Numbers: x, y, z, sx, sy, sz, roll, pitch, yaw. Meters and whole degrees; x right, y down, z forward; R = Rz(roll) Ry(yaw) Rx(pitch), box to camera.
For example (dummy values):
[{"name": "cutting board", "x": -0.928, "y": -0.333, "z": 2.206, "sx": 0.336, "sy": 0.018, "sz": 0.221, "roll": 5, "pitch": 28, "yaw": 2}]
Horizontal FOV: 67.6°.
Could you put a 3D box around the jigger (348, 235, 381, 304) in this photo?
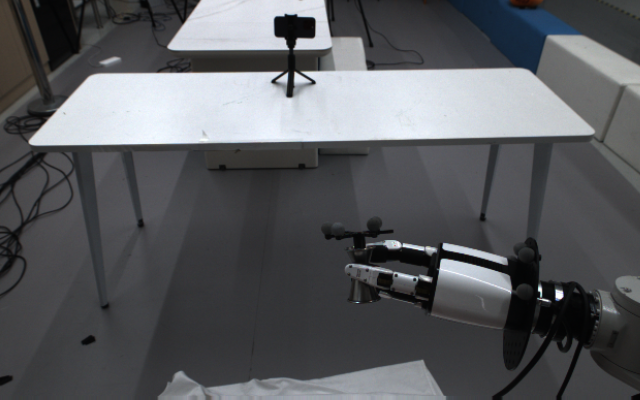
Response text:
[{"name": "jigger", "x": 0.054, "y": 0.094, "z": 0.621, "sx": 0.043, "sy": 0.071, "sz": 0.043, "roll": -4, "pitch": 1, "yaw": 0}]
